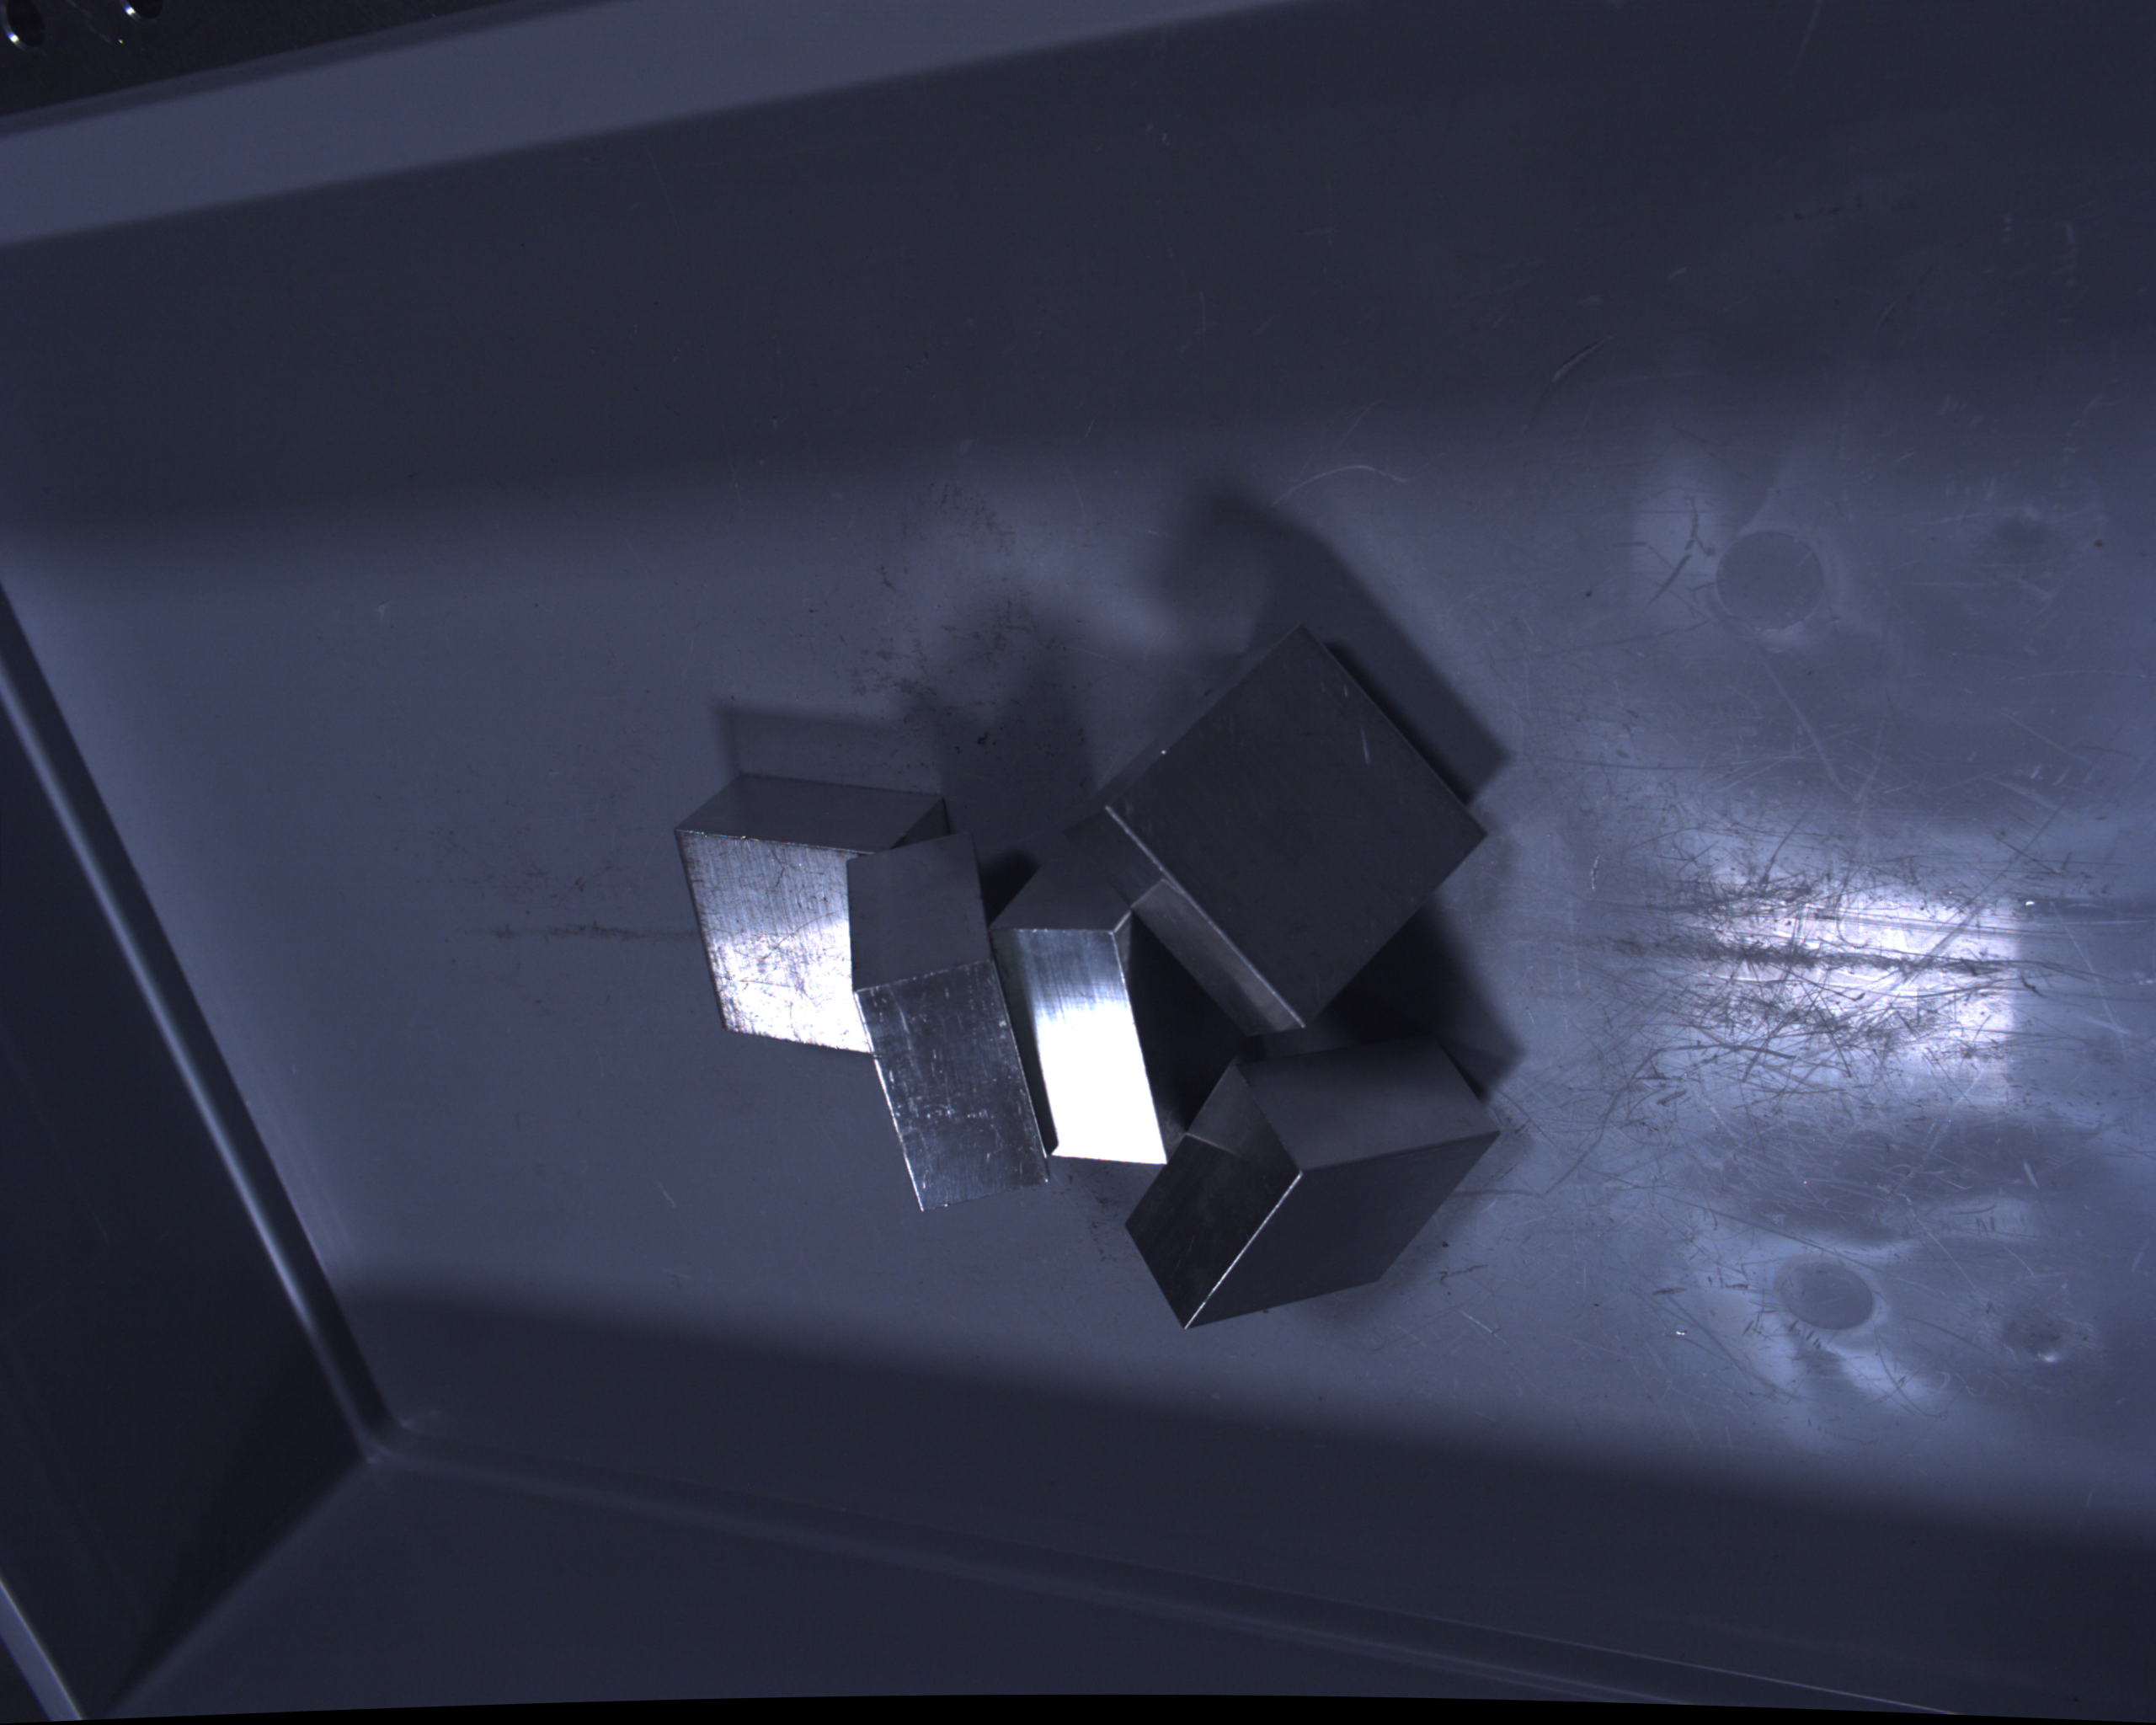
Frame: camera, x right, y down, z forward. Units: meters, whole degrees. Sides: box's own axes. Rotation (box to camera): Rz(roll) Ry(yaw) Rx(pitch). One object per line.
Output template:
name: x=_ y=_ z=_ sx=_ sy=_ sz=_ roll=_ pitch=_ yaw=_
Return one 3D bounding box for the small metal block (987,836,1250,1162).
small metal block: x=0.010 y=0.021 z=0.397 sx=0.025 sy=0.050 sz=0.050 roll=1 pitch=119 yaw=27

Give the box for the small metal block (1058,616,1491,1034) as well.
small metal block: x=0.034 y=-0.006 z=0.364 sx=0.050 sy=0.050 sz=0.025 roll=48 pitch=161 yaw=-6

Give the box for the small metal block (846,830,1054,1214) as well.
small metal block: x=-0.025 y=0.029 z=0.397 sx=0.025 sy=0.050 sz=0.050 roll=-14 pitch=119 yaw=-1

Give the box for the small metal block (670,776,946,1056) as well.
small metal block: x=-0.053 y=0.012 z=0.438 sx=0.050 sy=0.025 sz=0.050 roll=6 pitch=121 yaw=24

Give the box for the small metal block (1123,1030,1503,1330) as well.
small metal block: x=0.044 y=0.061 z=0.400 sx=0.025 sy=0.050 sz=0.050 roll=58 pitch=136 yaw=32
